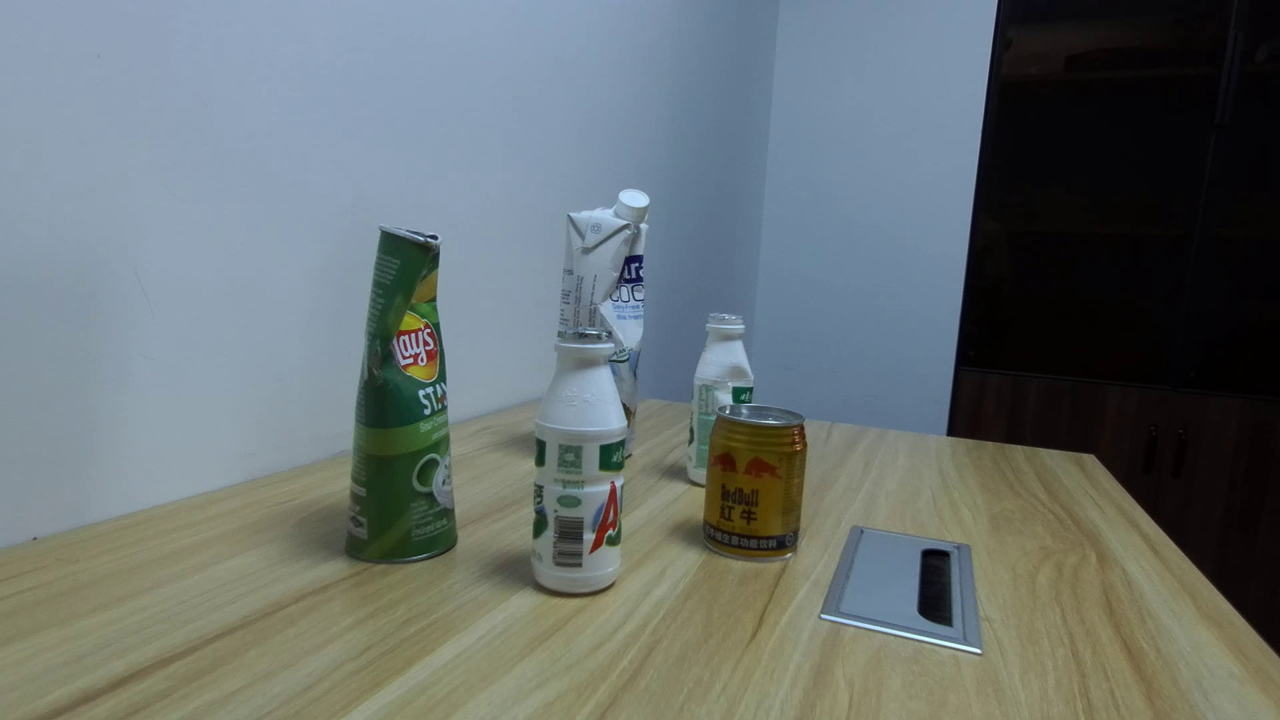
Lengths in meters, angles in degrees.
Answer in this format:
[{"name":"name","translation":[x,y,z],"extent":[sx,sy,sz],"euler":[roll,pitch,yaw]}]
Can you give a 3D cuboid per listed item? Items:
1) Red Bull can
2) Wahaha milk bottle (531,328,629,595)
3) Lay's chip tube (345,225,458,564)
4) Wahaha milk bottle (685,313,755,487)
[{"name":"Red Bull can","translation":[0.078,0.081,0.481],"extent":[0.067,0.093,0.067],"euler":[5,8,0]},{"name":"Wahaha milk bottle","translation":[-0.034,0.057,0.407],"extent":[0.053,0.147,0.053],"euler":[3,7,0]},{"name":"Lay's chip tube","translation":[-0.147,0.020,0.442],"extent":[0.069,0.201,0.077],"euler":[-2,11,-40]},{"name":"Wahaha milk bottle","translation":[0.072,0.035,0.614],"extent":[0.055,0.149,0.055],"euler":[4,8,0]}]
